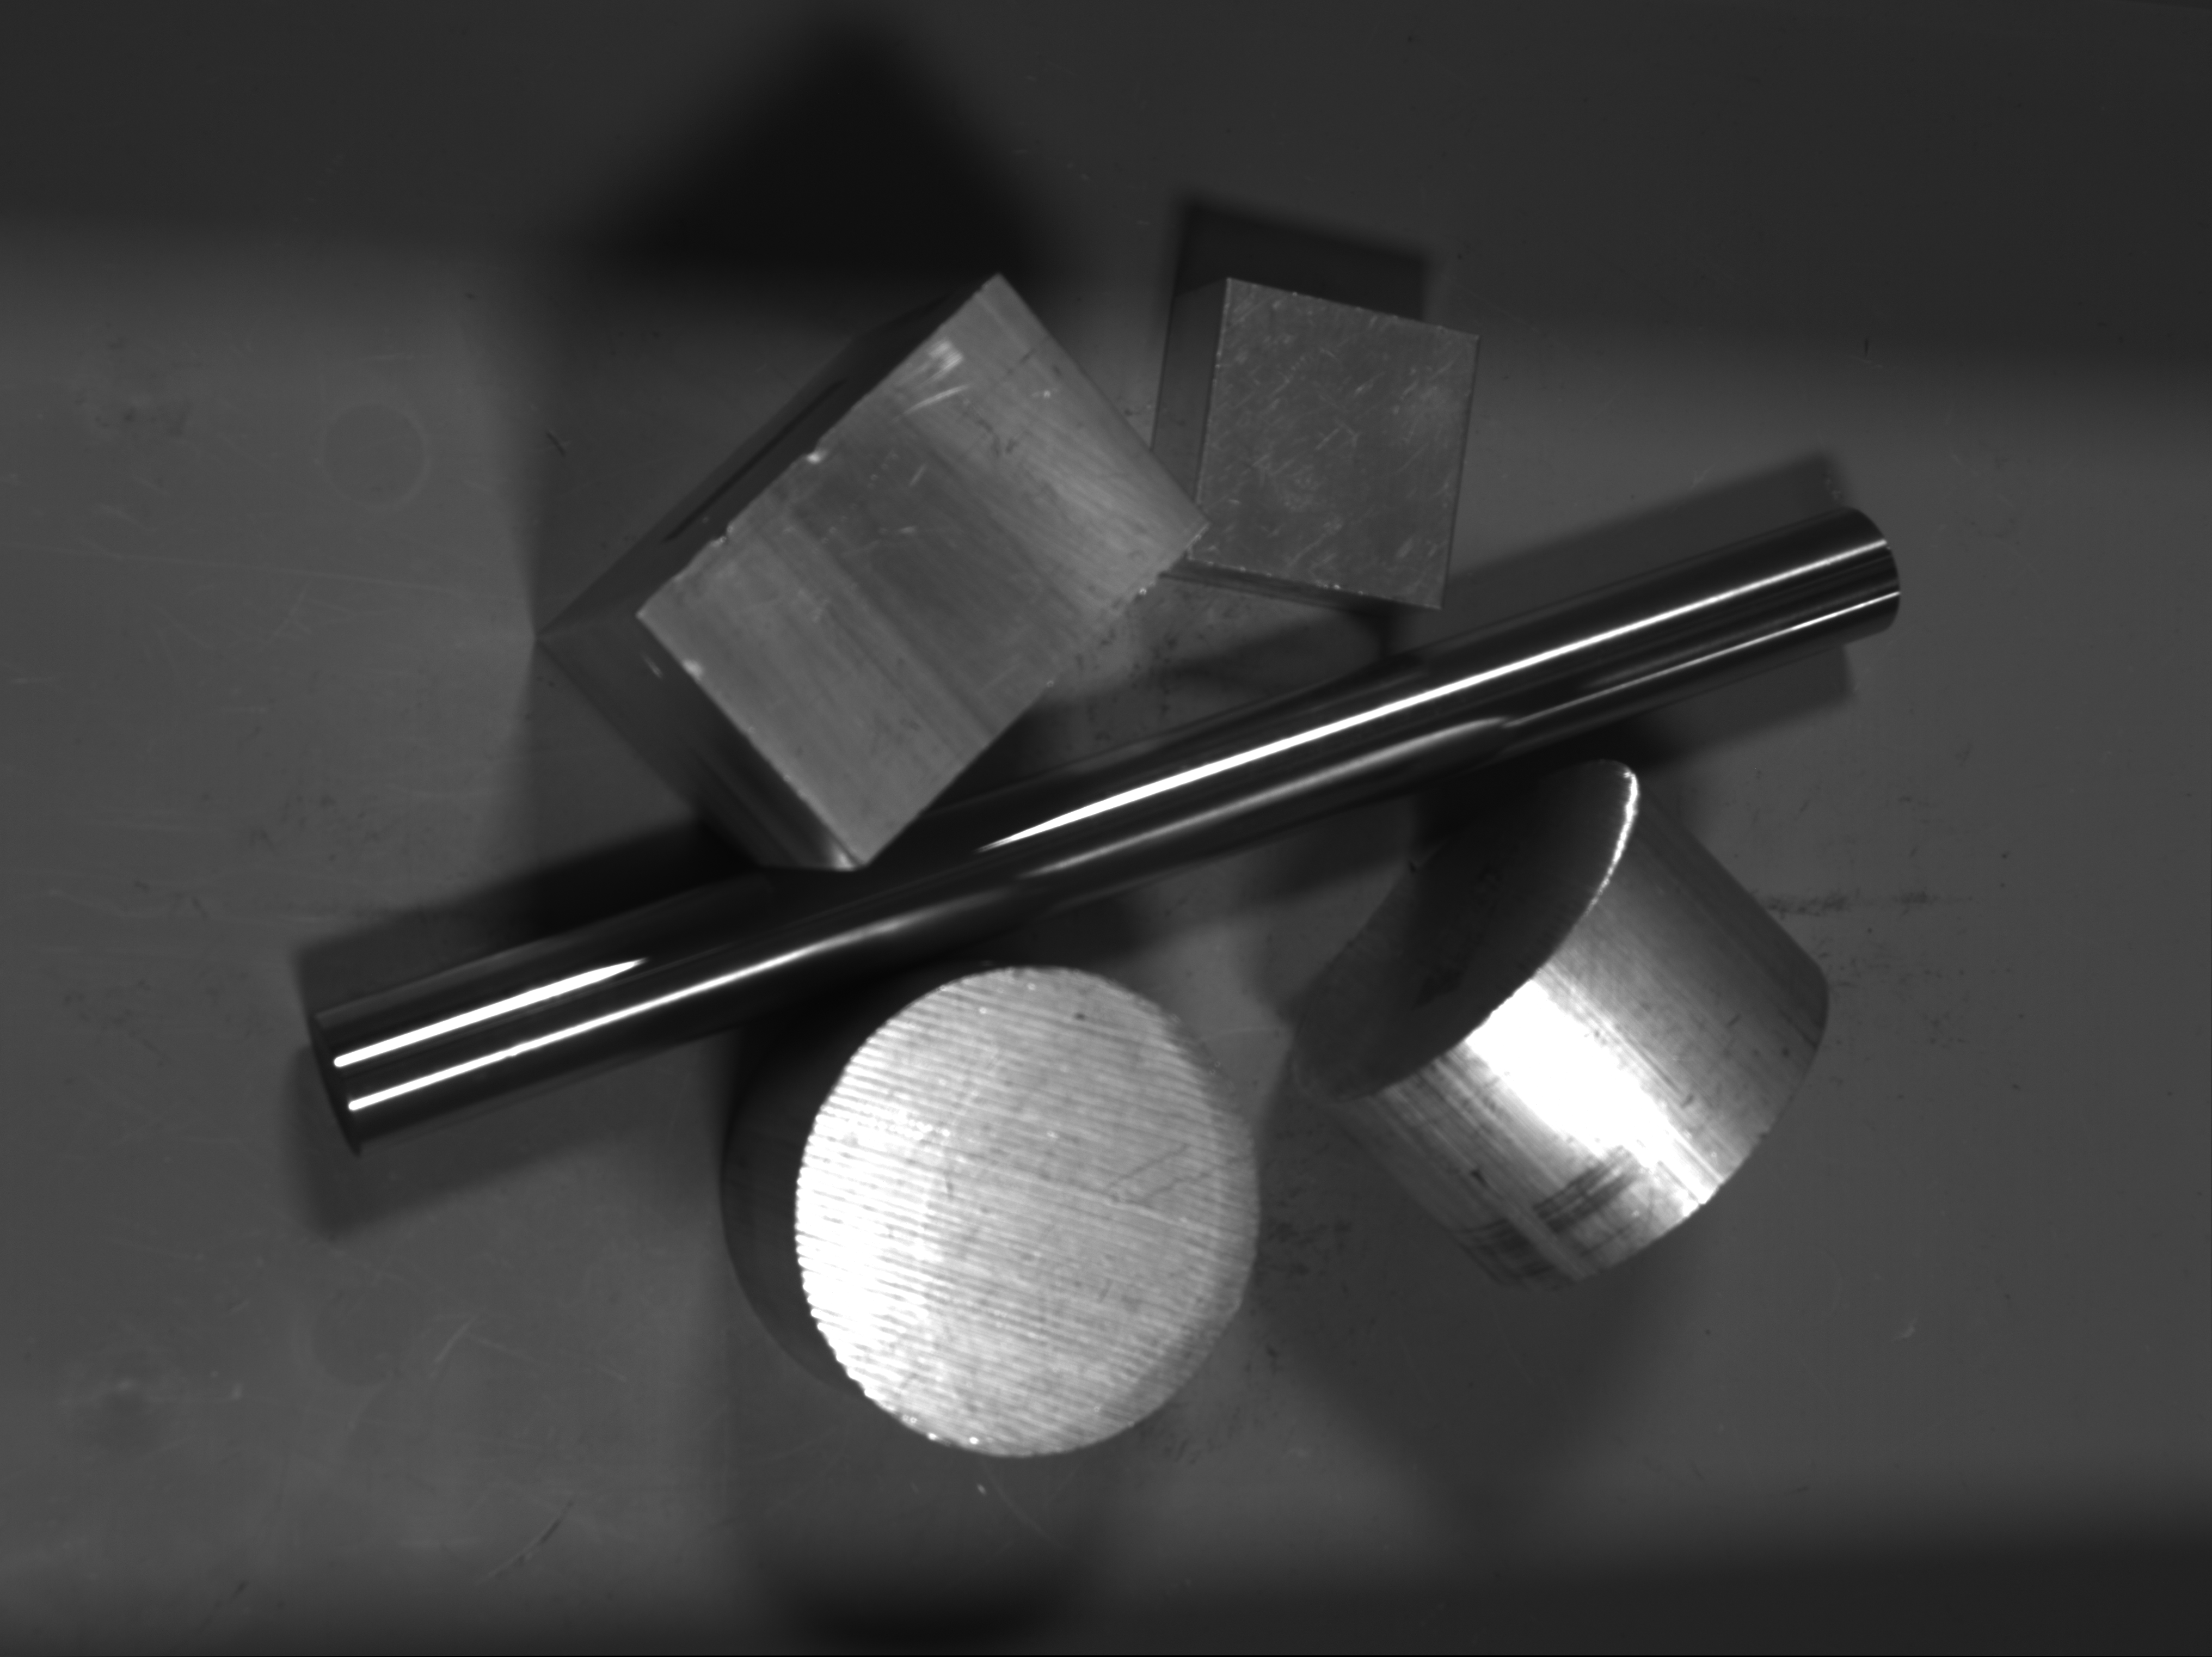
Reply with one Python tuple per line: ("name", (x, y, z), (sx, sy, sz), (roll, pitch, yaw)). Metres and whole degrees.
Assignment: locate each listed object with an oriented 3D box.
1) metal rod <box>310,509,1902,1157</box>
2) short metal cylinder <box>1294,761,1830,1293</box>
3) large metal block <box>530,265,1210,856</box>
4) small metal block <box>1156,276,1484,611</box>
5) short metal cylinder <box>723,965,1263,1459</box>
("metal rod", (0.009, -0.004, 0.646), (0.300, 0.025, 0.025), (-19, 96, -19))
("short metal cylinder", (0.079, 0.034, 0.642), (0.050, 0.080, 0.080), (44, 76, -14))
("large metal block", (-0.041, -0.041, 0.599), (0.080, 0.080, 0.050), (-45, 104, -14))
("small metal block", (0.036, -0.068, 0.655), (0.050, 0.025, 0.050), (9, 87, -20))
("short metal cylinder", (-0.020, 0.063, 0.621), (0.080, 0.050, 0.080), (0, 90, -20))
